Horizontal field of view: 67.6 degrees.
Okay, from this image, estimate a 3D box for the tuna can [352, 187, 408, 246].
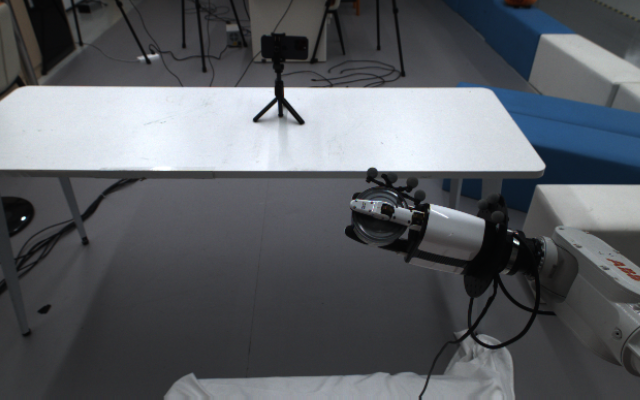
[{"bbox_3d":[0.091,0.023,0.722,0.085,0.034,0.085,0,72,0],"label":"tuna can"}]
